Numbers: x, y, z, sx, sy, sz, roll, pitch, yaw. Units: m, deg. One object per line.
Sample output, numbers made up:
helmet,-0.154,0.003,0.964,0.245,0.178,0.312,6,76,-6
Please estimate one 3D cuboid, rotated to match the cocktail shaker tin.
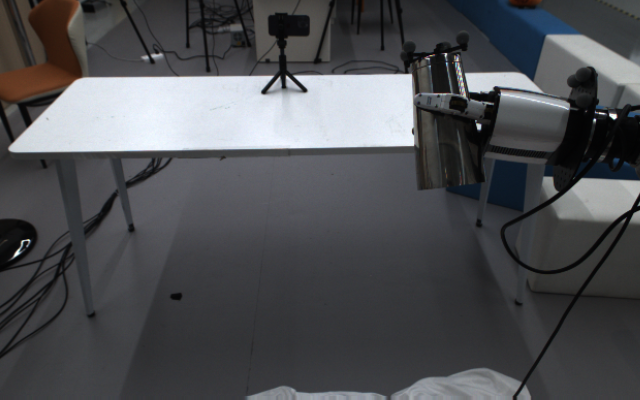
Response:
cocktail shaker tin,0.167,-0.104,0.652,0.093,0.170,0.093,-8,1,0
